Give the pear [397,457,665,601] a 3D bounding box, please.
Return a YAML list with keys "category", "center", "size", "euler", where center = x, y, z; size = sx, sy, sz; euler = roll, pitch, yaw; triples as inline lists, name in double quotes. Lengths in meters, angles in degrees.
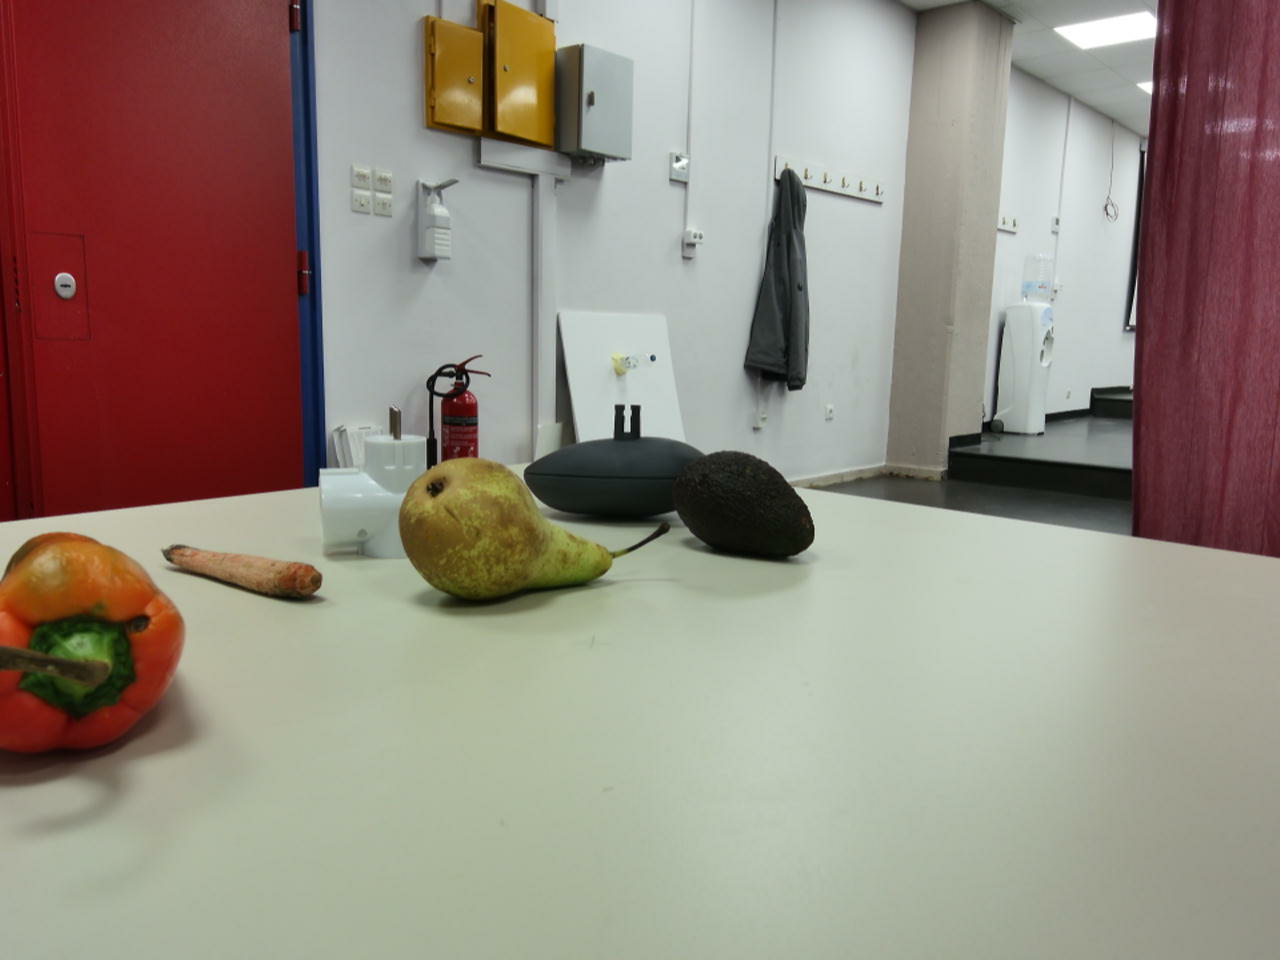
- category: "pear"
  center: [-0.062, 0.023, 0.548]
  size: [0.144, 0.075, 0.072]
  euler: [-6, 9, -41]
